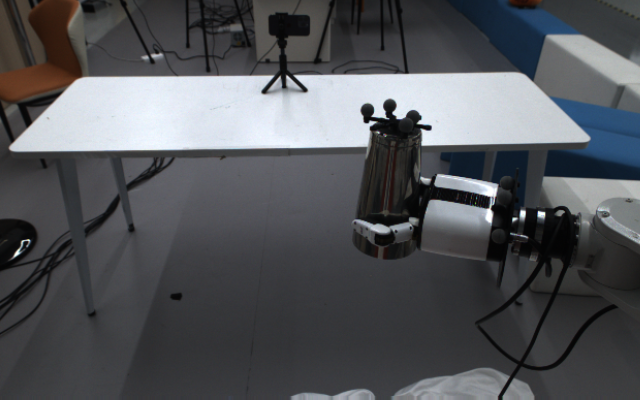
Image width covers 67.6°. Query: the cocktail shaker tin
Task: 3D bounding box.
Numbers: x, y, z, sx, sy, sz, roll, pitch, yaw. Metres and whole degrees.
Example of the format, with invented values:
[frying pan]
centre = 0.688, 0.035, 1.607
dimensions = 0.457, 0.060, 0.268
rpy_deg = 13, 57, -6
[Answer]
[cocktail shaker tin]
centre = 0.096, -0.016, 0.658
dimensions = 0.093, 0.170, 0.093
rpy_deg = 1, 28, -1
